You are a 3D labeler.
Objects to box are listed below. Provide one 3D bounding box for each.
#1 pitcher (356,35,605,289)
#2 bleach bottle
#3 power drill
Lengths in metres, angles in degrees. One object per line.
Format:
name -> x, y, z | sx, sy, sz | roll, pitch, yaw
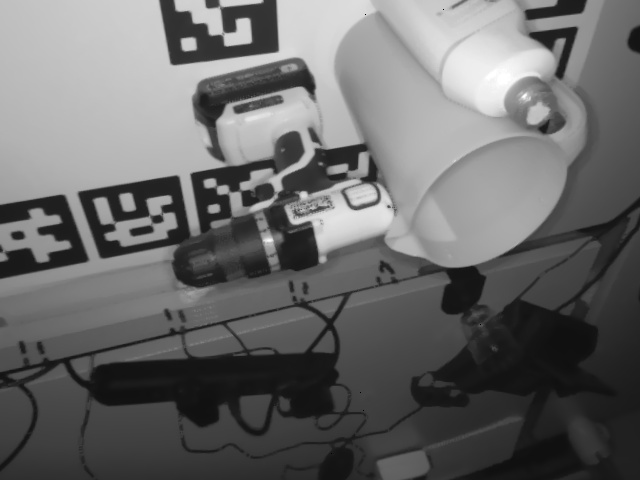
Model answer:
pitcher -> 0.126, -0.090, 0.614 | 0.188, 0.243, 0.133 | -31, 134, 8
bleach bottle -> 0.139, -0.151, 0.532 | 0.103, 0.251, 0.067 | -18, 136, -6
power drill -> -0.037, -0.047, 0.599 | 0.185, 0.188, 0.057 | -12, 133, -3
